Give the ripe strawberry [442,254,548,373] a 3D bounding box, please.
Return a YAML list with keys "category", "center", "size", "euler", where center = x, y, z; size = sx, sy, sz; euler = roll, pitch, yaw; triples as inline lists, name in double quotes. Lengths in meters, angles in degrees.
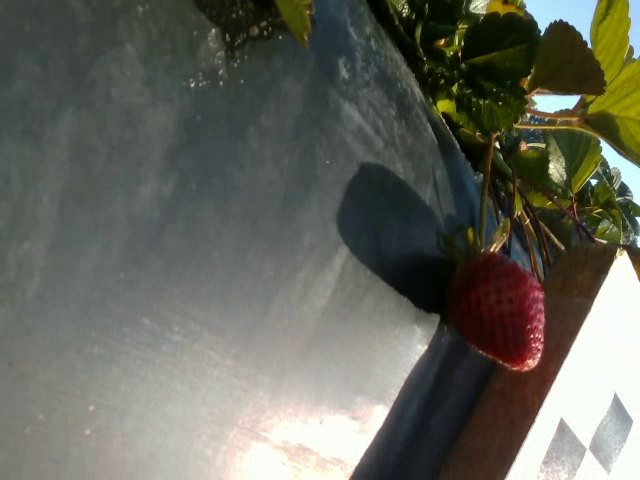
- category: "ripe strawberry"
  center: [0.044, 0.020, 0.145]
  size: [0.033, 0.035, 0.038]
  euler: [-35, 34, 13]
